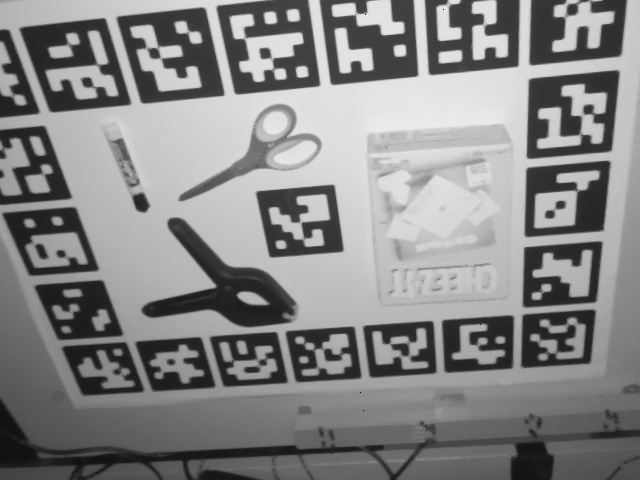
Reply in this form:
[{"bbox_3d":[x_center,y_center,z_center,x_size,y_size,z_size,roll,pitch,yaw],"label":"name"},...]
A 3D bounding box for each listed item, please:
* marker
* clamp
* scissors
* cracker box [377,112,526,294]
[{"bbox_3d":[-0.226,-0.101,0.838,0.019,0.020,0.120,-7,121,7],"label":"marker"},{"bbox_3d":[-0.113,0.055,0.932,0.204,0.037,0.163,22,120,-10],"label":"clamp"},{"bbox_3d":[-0.084,-0.106,0.830,0.200,0.016,0.088,-29,116,21],"label":"scissors"},{"bbox_3d":[0.154,-0.039,0.830,0.164,0.072,0.212,-3,120,4],"label":"cracker box"}]
